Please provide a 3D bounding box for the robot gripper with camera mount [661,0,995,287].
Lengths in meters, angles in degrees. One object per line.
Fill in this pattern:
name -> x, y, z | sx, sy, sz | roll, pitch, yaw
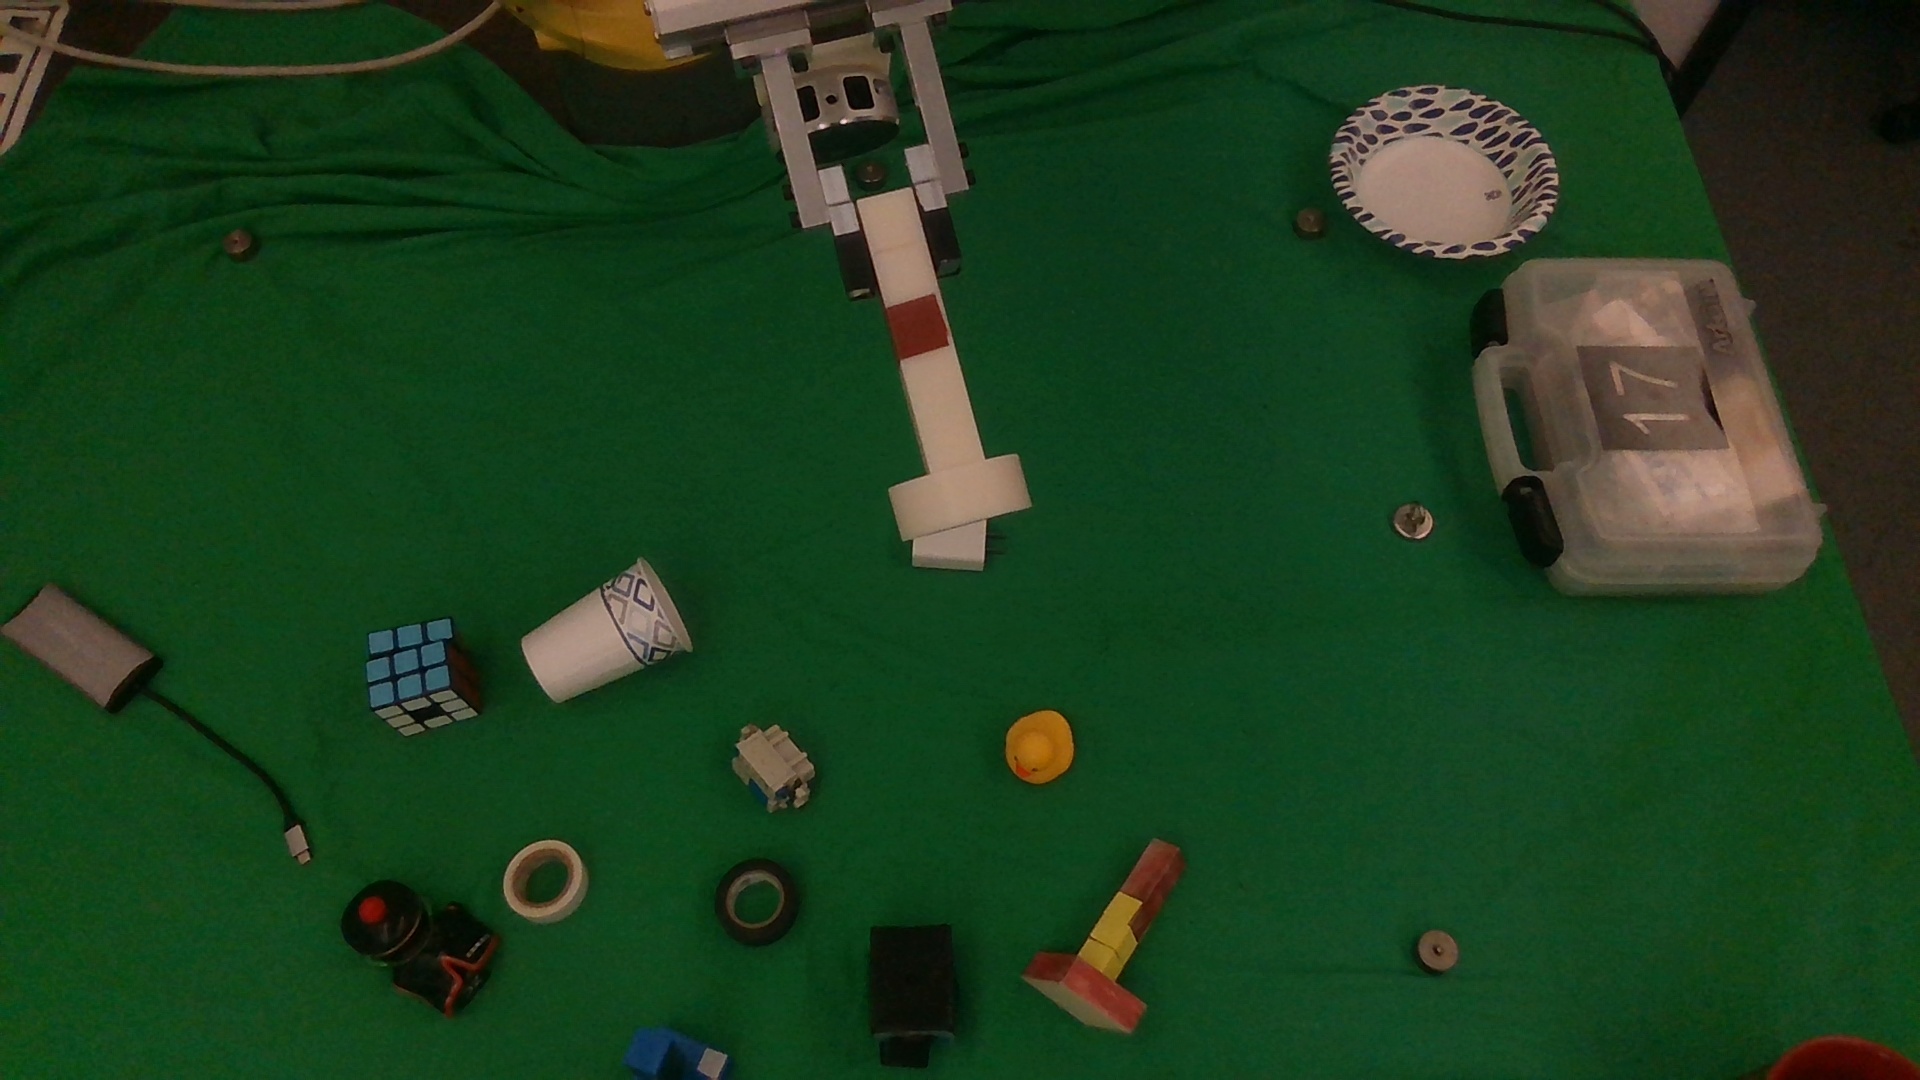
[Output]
robot gripper with camera mount -> -0.044, -0.169, 0.563 | 0.119, 0.193, 0.158 | -16, 90, -5

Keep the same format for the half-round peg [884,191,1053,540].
half-round peg -> -0.004, -0.065, 0.500 | 0.054, 0.031, 0.122 | -14, 85, -15
